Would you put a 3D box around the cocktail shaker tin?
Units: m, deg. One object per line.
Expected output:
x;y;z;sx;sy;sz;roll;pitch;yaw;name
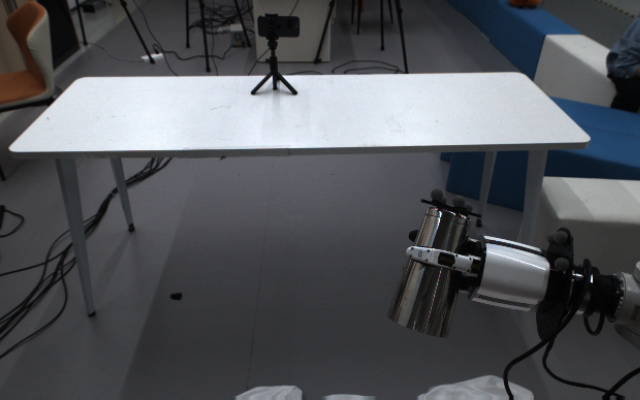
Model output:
0.168;0.101;0.705;0.093;0.170;0.093;16;-2;1;cocktail shaker tin
